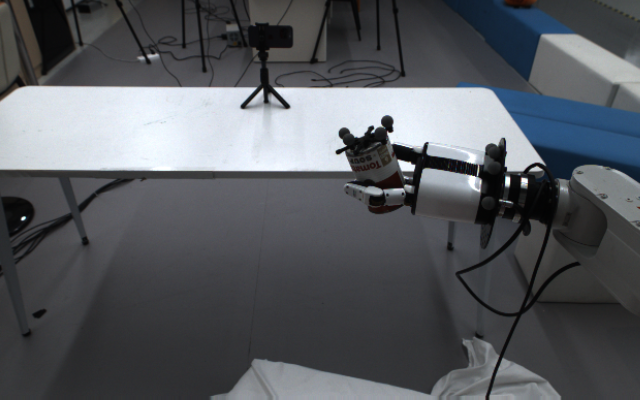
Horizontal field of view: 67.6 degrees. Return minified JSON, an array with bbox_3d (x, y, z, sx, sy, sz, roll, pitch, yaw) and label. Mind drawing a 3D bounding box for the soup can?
[{"bbox_3d":[0.086,-0.040,0.712,0.067,0.101,0.067,-22,24,10],"label":"soup can"}]
